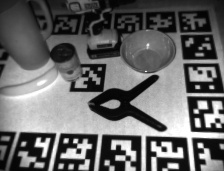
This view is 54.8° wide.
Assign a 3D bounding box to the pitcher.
[{"bbox_3d":[-0.263,-0.181,0.620,0.189,0.244,0.132,-21,57,-4],"label":"pitcher"}]

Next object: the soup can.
[{"bbox_3d":[-0.139,-0.091,0.638,0.068,0.103,0.067,-4,53,6],"label":"soup can"}]

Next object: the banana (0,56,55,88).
[{"bbox_3d":[-0.262,-0.033,0.659,0.198,0.039,0.073,-21,53,-6],"label":"banana"}]

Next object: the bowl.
[{"bbox_3d":[0.091,-0.112,0.646,0.161,0.055,0.161,-3,63,6],"label":"bowl"}]

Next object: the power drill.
[{"bbox_3d":[-0.023,-0.205,0.614,0.184,0.188,0.057,-4,61,5],"label":"power drill"}]

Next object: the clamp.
[{"bbox_3d":[0.019,0.027,0.582,0.202,0.037,0.165,-1,65,6],"label":"clamp"}]
